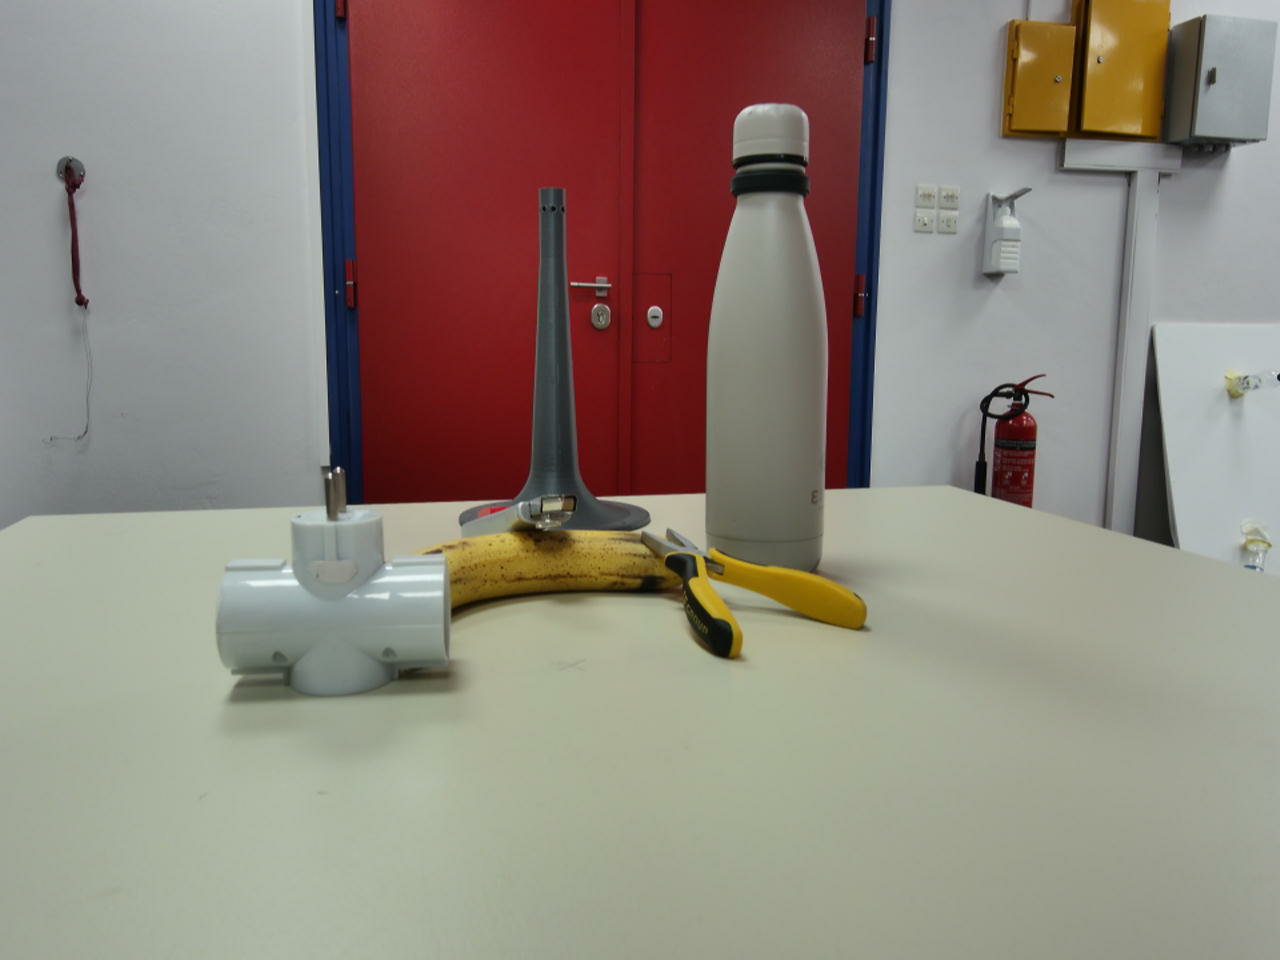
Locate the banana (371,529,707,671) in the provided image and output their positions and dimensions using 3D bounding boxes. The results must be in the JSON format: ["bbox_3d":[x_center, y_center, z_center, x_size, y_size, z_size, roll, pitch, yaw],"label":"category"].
[{"bbox_3d":[-0.061,0.052,0.533,0.186,0.038,0.097,-6,9,-41],"label":"banana"}]
